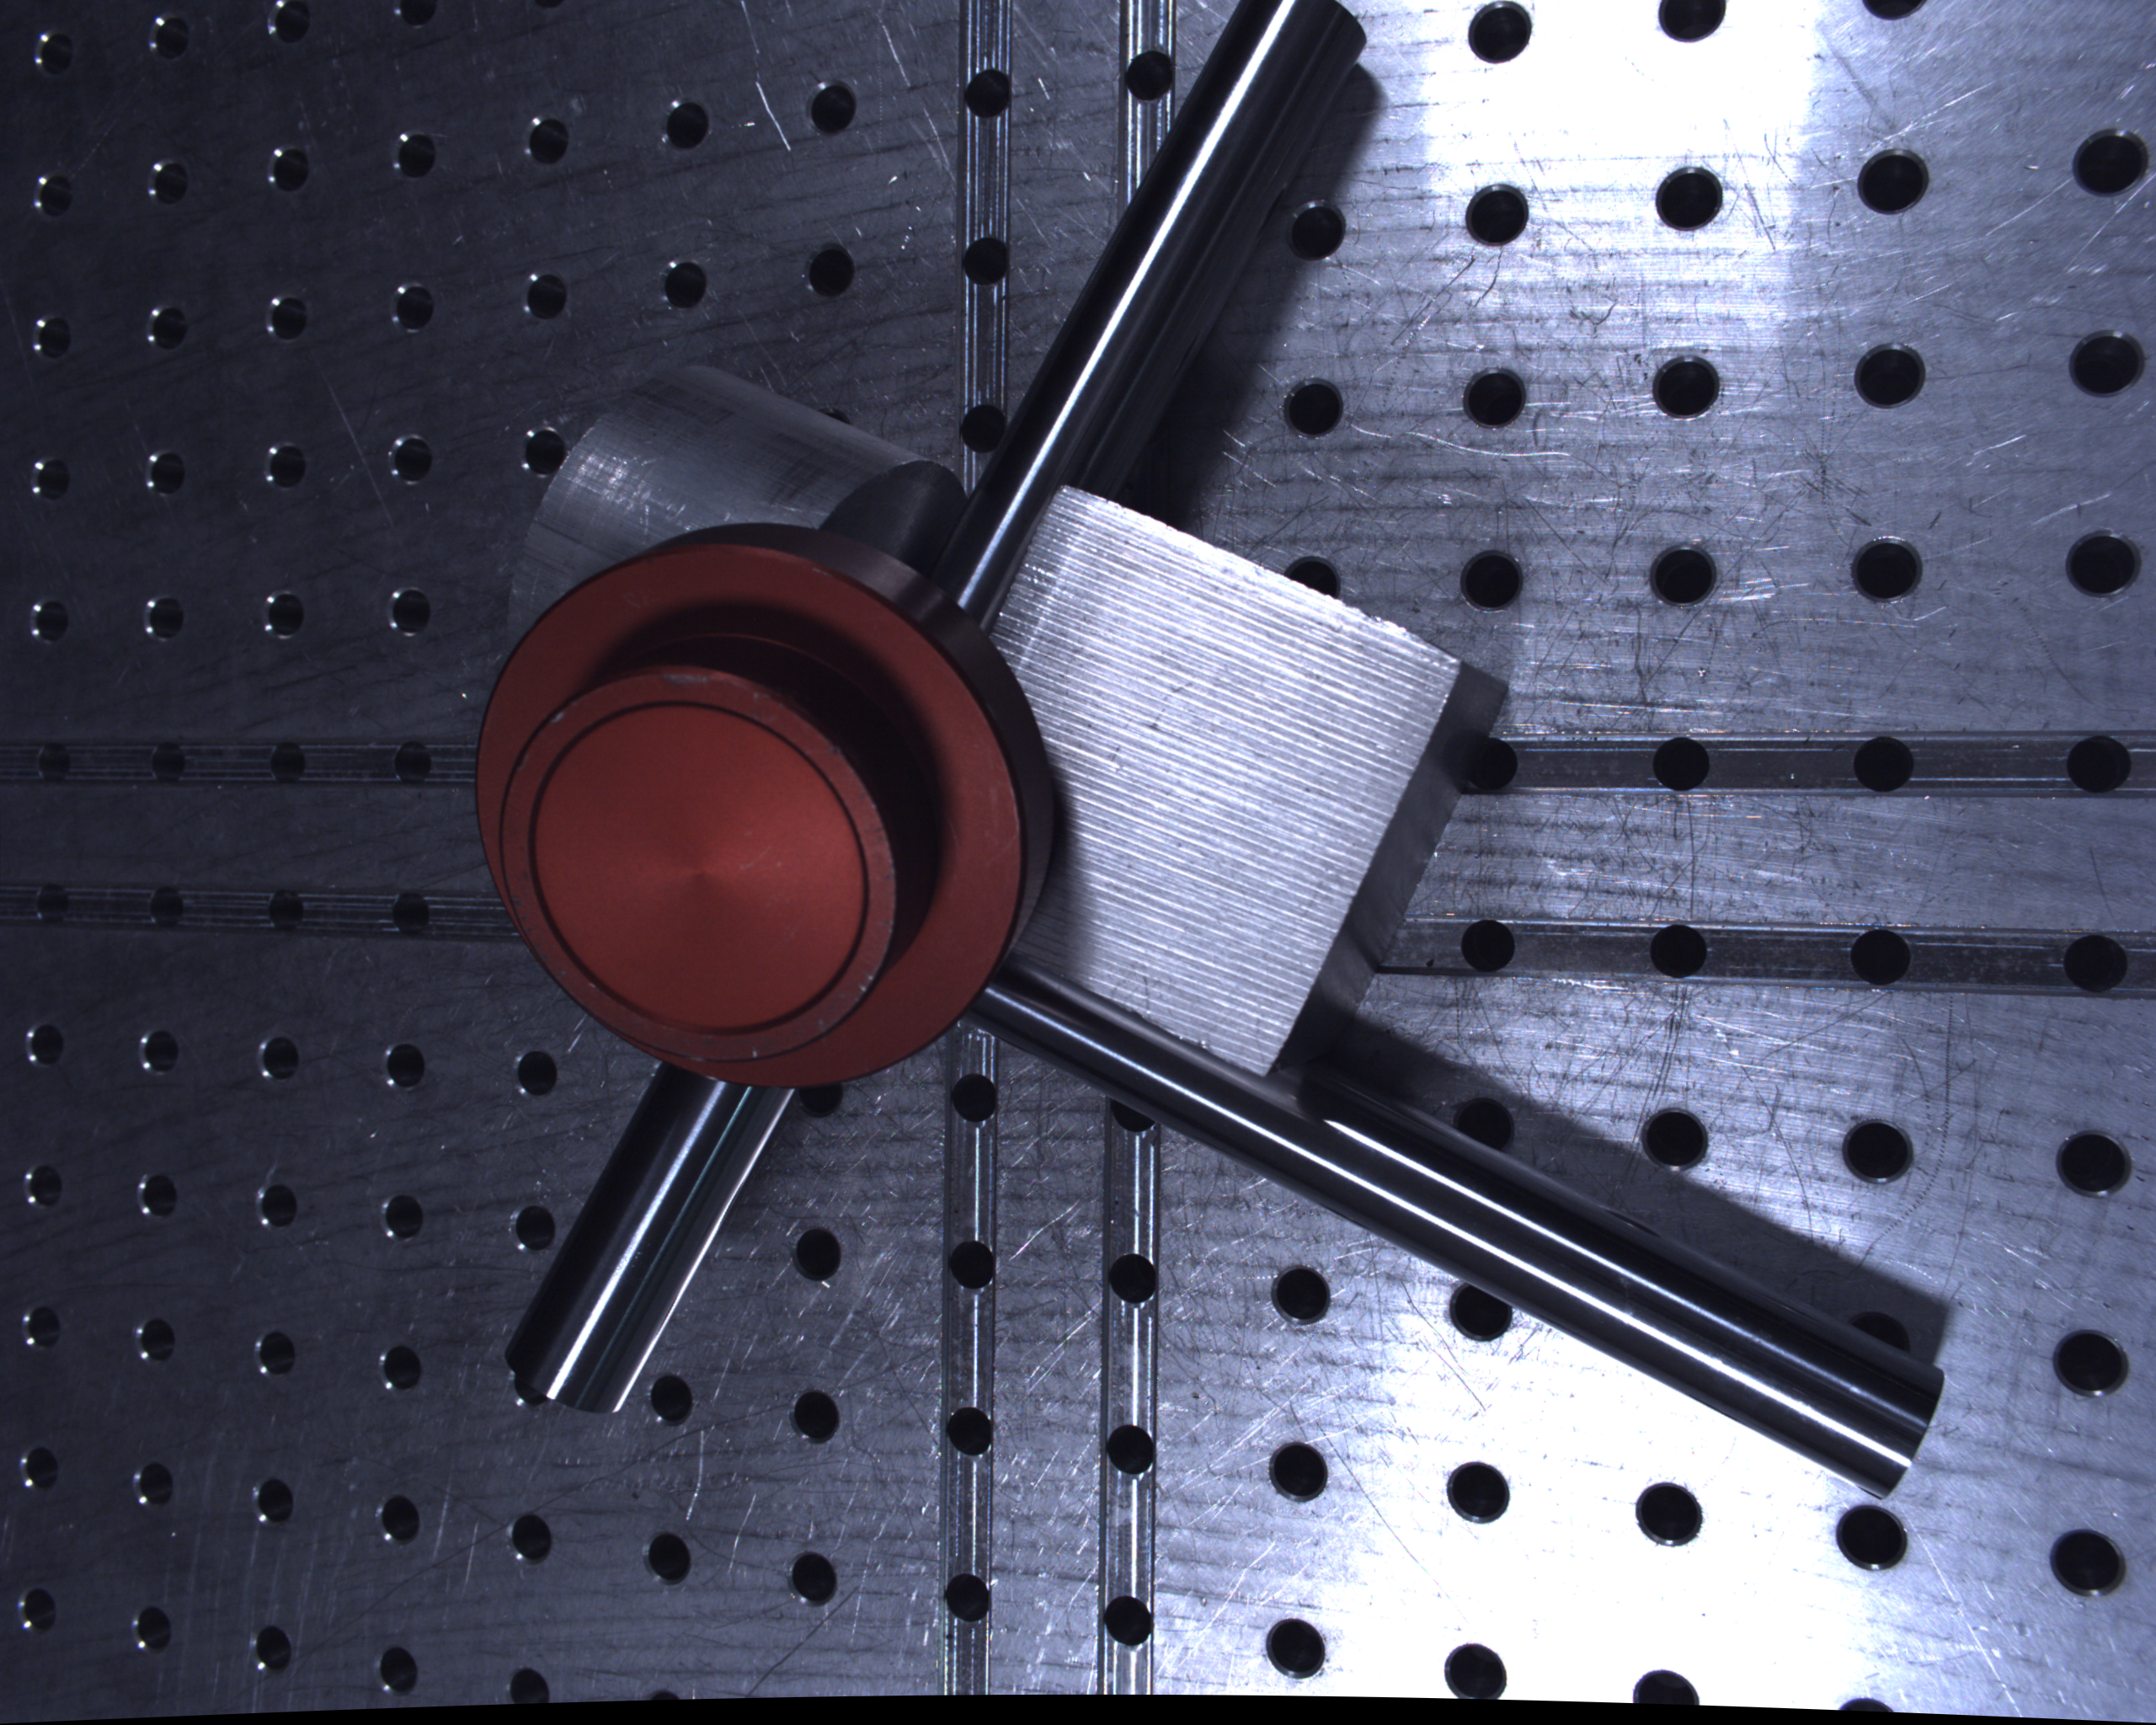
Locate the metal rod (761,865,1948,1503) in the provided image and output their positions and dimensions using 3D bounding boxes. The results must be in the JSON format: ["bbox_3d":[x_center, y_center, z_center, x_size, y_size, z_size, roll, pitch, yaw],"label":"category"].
[{"bbox_3d":[0.016,0.037,0.405,0.301,0.025,0.025,26,99,17],"label":"metal rod"}]

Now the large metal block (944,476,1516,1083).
[{"bbox_3d":[0.023,-0.015,0.387,0.080,0.050,0.080,27,99,17],"label":"large metal block"}]

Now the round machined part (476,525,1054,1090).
[{"bbox_3d":[-0.057,-0.005,0.353,0.098,0.042,0.097,4,111,11],"label":"round machined part"}]

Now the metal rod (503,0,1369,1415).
[{"bbox_3d":[-0.028,-0.030,0.401,0.025,0.025,0.299,29,92,17],"label":"metal rod"}]

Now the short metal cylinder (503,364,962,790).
[{"bbox_3d":[-0.064,-0.050,0.404,0.050,0.080,0.080,26,99,18],"label":"short metal cylinder"}]
